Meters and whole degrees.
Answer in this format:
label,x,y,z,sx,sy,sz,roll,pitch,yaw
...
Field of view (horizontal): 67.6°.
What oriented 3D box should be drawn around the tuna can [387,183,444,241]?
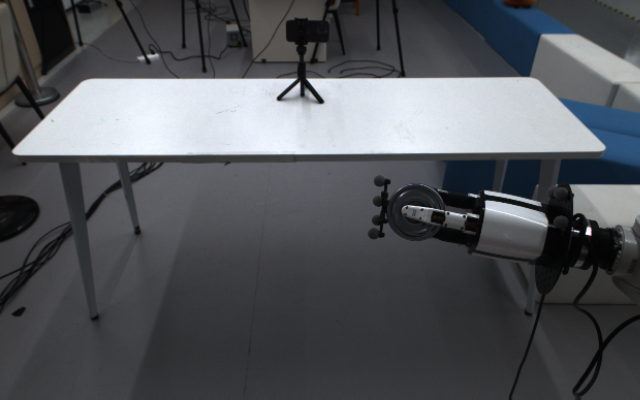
label,x,y,z,sx,sy,sz,roll,pitch,yaw
tuna can,0.144,0.015,0.715,0.085,0.085,0.034,10,2,11
